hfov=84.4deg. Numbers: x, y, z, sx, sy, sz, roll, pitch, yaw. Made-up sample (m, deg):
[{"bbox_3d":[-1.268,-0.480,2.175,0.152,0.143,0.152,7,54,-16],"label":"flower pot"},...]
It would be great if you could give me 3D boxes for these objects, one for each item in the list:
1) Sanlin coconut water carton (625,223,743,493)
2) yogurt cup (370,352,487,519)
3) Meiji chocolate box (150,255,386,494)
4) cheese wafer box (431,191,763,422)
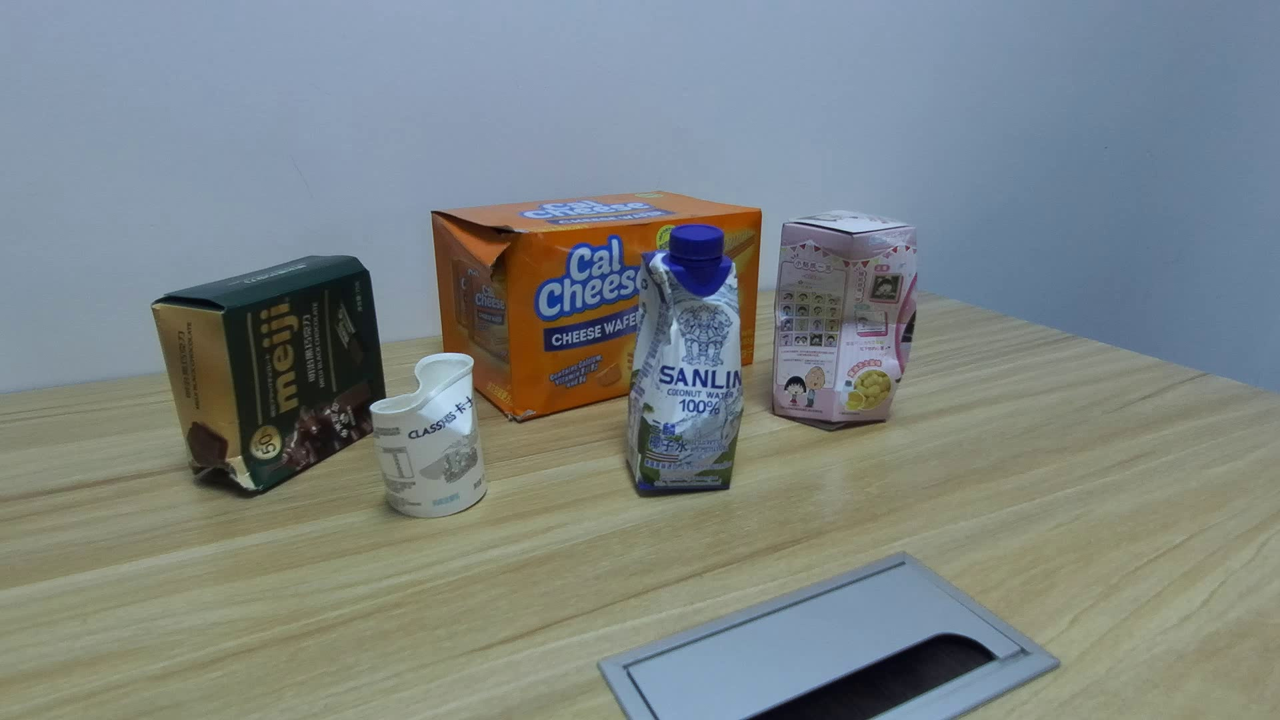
[{"bbox_3d":[0.028,-0.002,0.400,0.057,0.144,0.068,3,10,-14],"label":"Sanlin coconut water carton"},{"bbox_3d":[-0.114,0.040,0.381,0.054,0.071,0.075,-7,22,-18],"label":"yogurt cup"},{"bbox_3d":[-0.213,0.004,0.421,0.058,0.116,0.123,8,20,19],"label":"Meiji chocolate box"},{"bbox_3d":[-0.034,-0.058,0.564,0.228,0.137,0.149,-13,24,-32],"label":"cheese wafer box"}]
